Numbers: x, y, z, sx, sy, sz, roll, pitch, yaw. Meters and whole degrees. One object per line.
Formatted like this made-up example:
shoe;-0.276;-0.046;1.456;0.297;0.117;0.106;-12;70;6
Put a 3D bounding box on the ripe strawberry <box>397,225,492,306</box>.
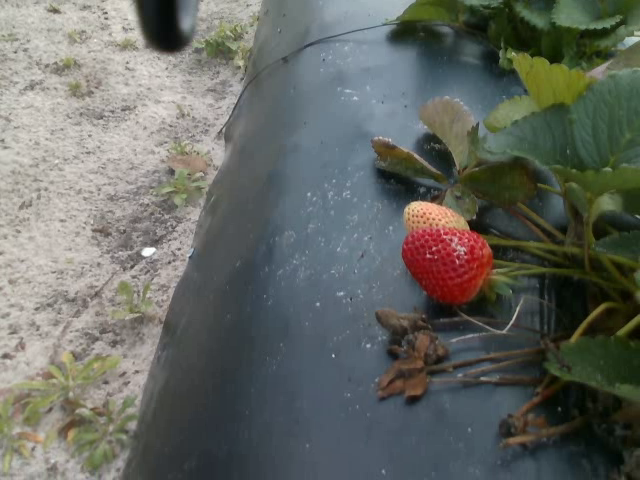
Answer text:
ripe strawberry;0.052;0.006;0.256;0.041;0.034;0.033;37;-29;-3
